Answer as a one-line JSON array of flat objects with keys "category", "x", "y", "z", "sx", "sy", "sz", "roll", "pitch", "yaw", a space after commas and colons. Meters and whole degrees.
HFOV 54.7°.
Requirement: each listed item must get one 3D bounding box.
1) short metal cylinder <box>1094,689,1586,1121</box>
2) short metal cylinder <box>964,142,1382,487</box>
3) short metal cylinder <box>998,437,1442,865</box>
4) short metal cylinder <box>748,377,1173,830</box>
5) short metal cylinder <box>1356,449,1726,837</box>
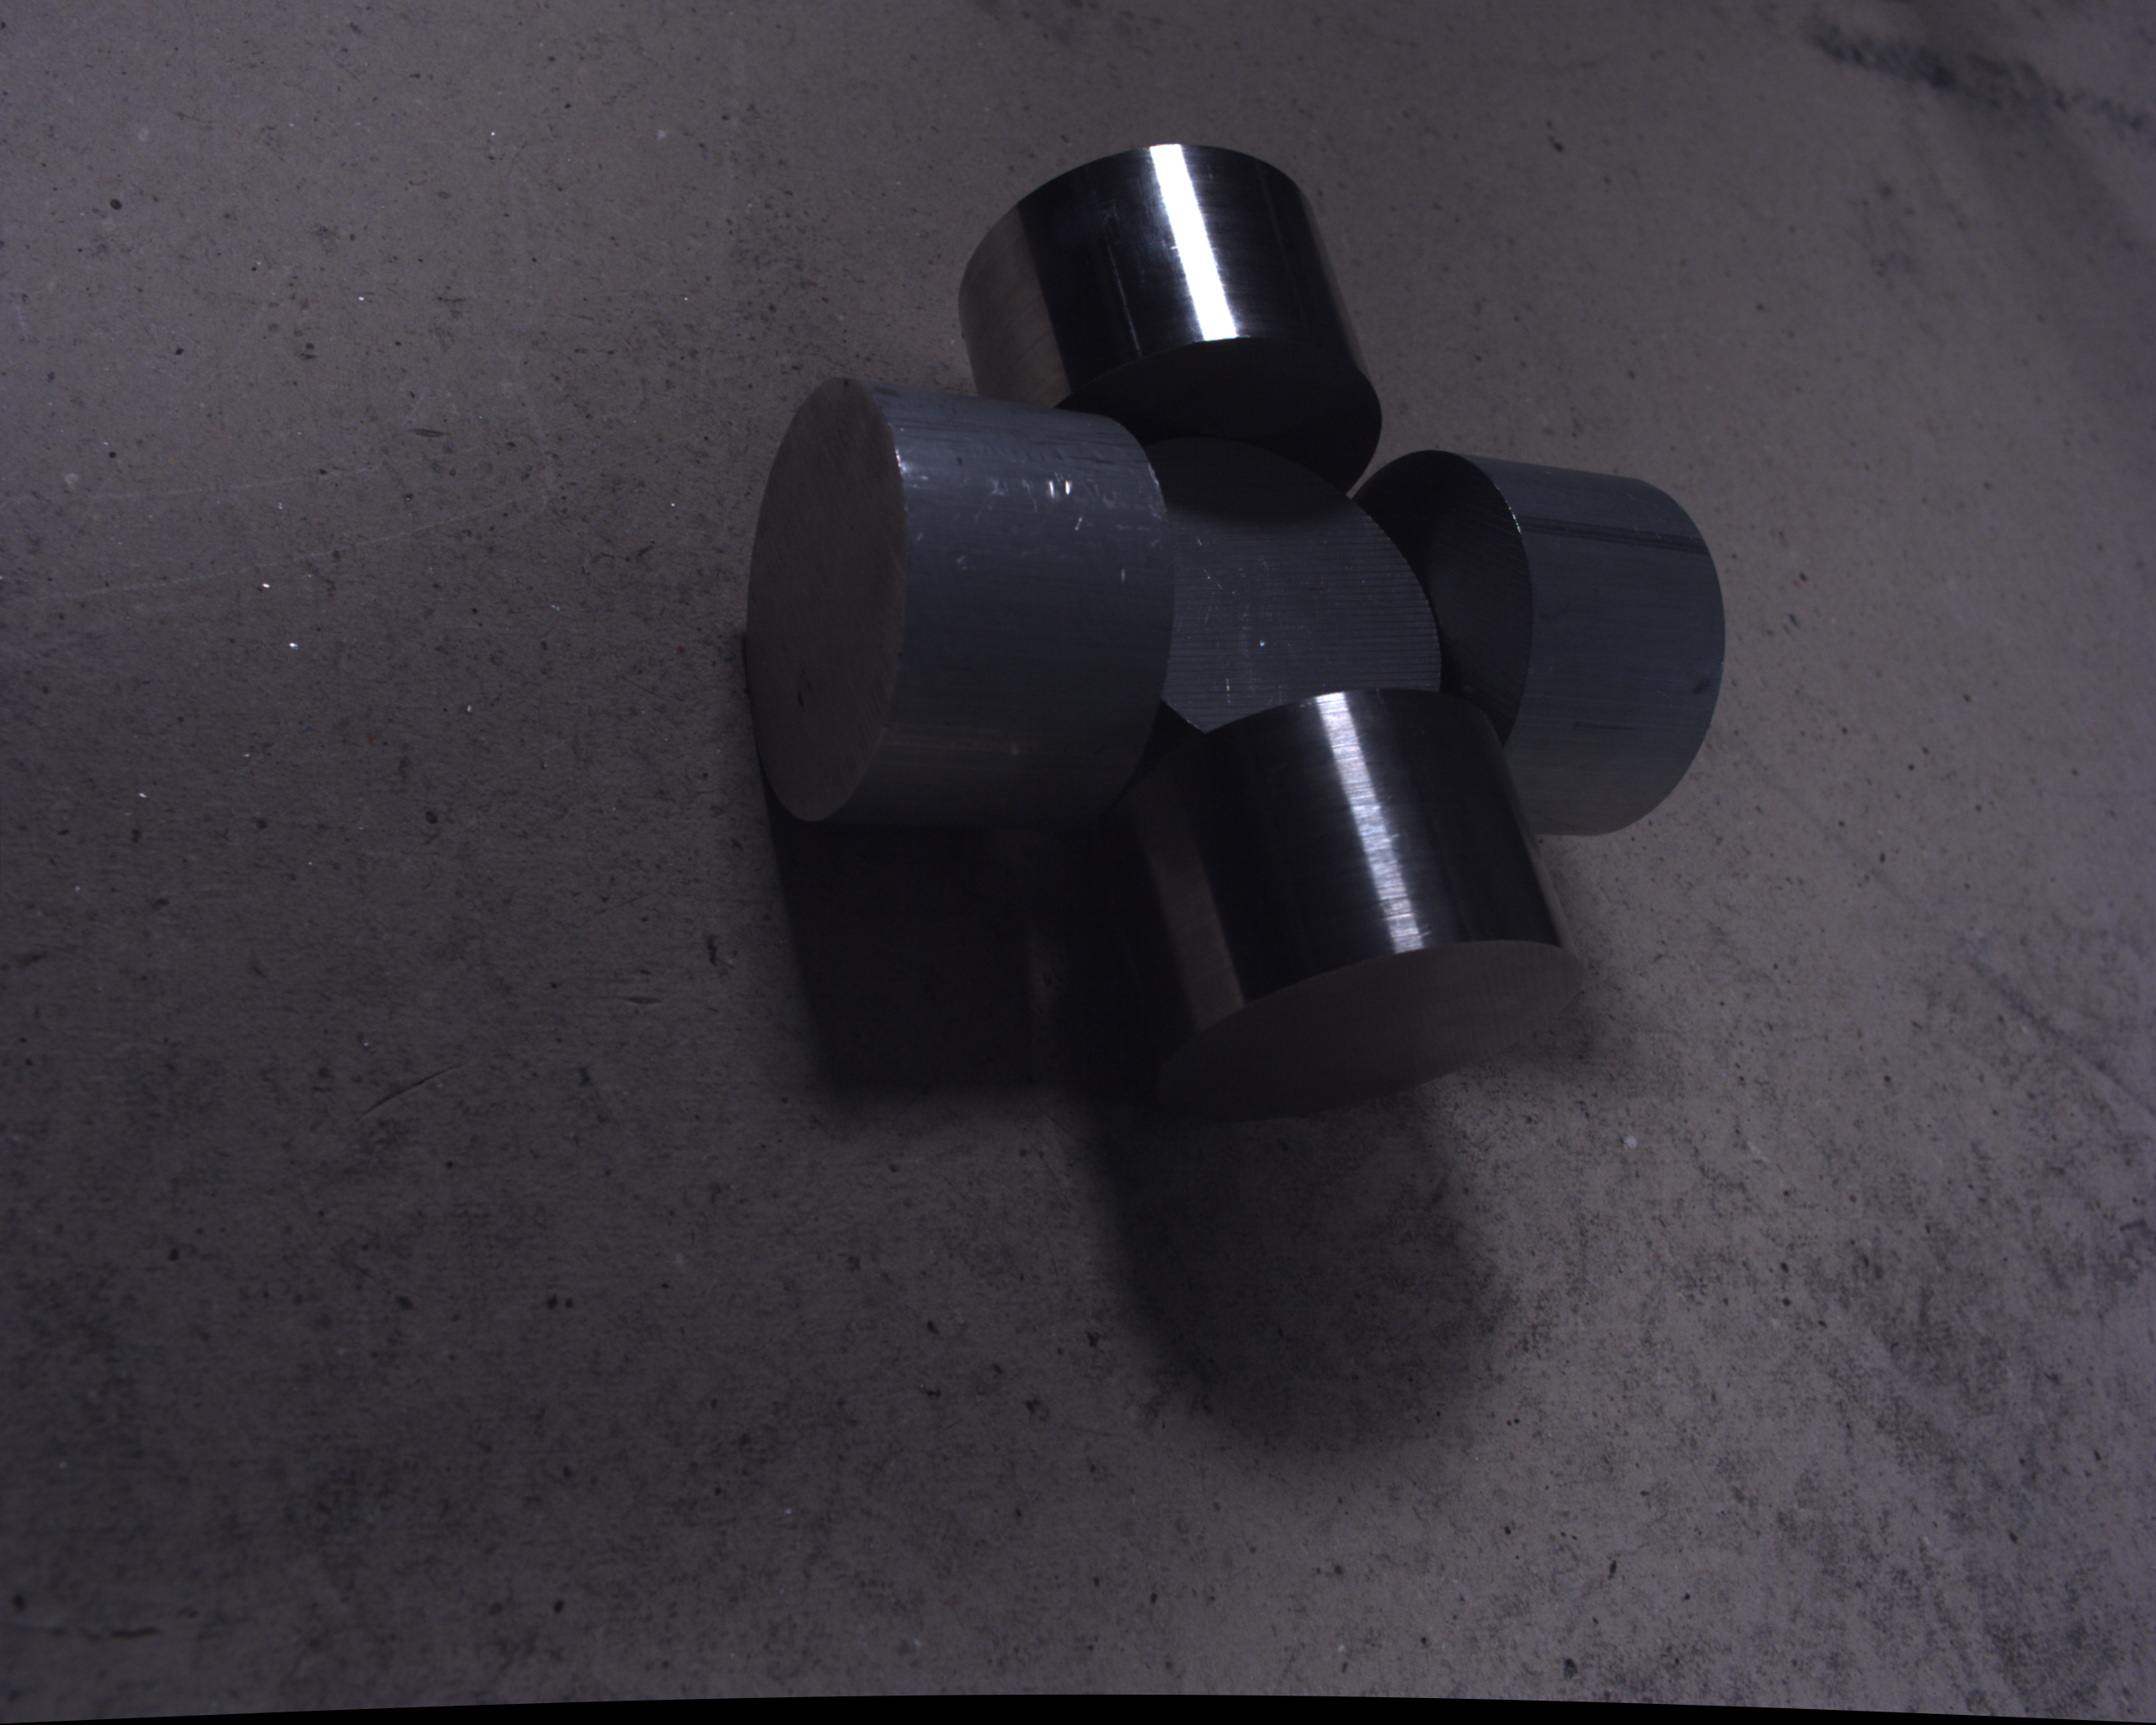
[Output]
[{"category": "short metal cylinder", "x": 0.048, "y": 0.010, "z": 0.391, "sx": 0.081, "sy": 0.080, "sz": 0.050, "roll": 0, "pitch": 61, "yaw": -29}, {"category": "short metal cylinder", "x": 0.019, "y": -0.106, "z": 0.445, "sx": 0.081, "sy": 0.080, "sz": 0.050, "roll": 2, "pitch": 62, "yaw": -28}, {"category": "short metal cylinder", "x": 0.027, "y": -0.040, "z": 0.430, "sx": 0.081, "sy": 0.050, "sz": 0.080, "roll": 14, "pitch": 56, "yaw": -21}, {"category": "short metal cylinder", "x": -0.024, "y": -0.046, "z": 0.387, "sx": 0.050, "sy": 0.080, "sz": 0.080, "roll": 2, "pitch": 61, "yaw": -28}, {"category": "short metal cylinder", "x": 0.092, "y": -0.046, "z": 0.450, "sx": 0.050, "sy": 0.080, "sz": 0.080, "roll": 2, "pitch": 61, "yaw": -28}]
